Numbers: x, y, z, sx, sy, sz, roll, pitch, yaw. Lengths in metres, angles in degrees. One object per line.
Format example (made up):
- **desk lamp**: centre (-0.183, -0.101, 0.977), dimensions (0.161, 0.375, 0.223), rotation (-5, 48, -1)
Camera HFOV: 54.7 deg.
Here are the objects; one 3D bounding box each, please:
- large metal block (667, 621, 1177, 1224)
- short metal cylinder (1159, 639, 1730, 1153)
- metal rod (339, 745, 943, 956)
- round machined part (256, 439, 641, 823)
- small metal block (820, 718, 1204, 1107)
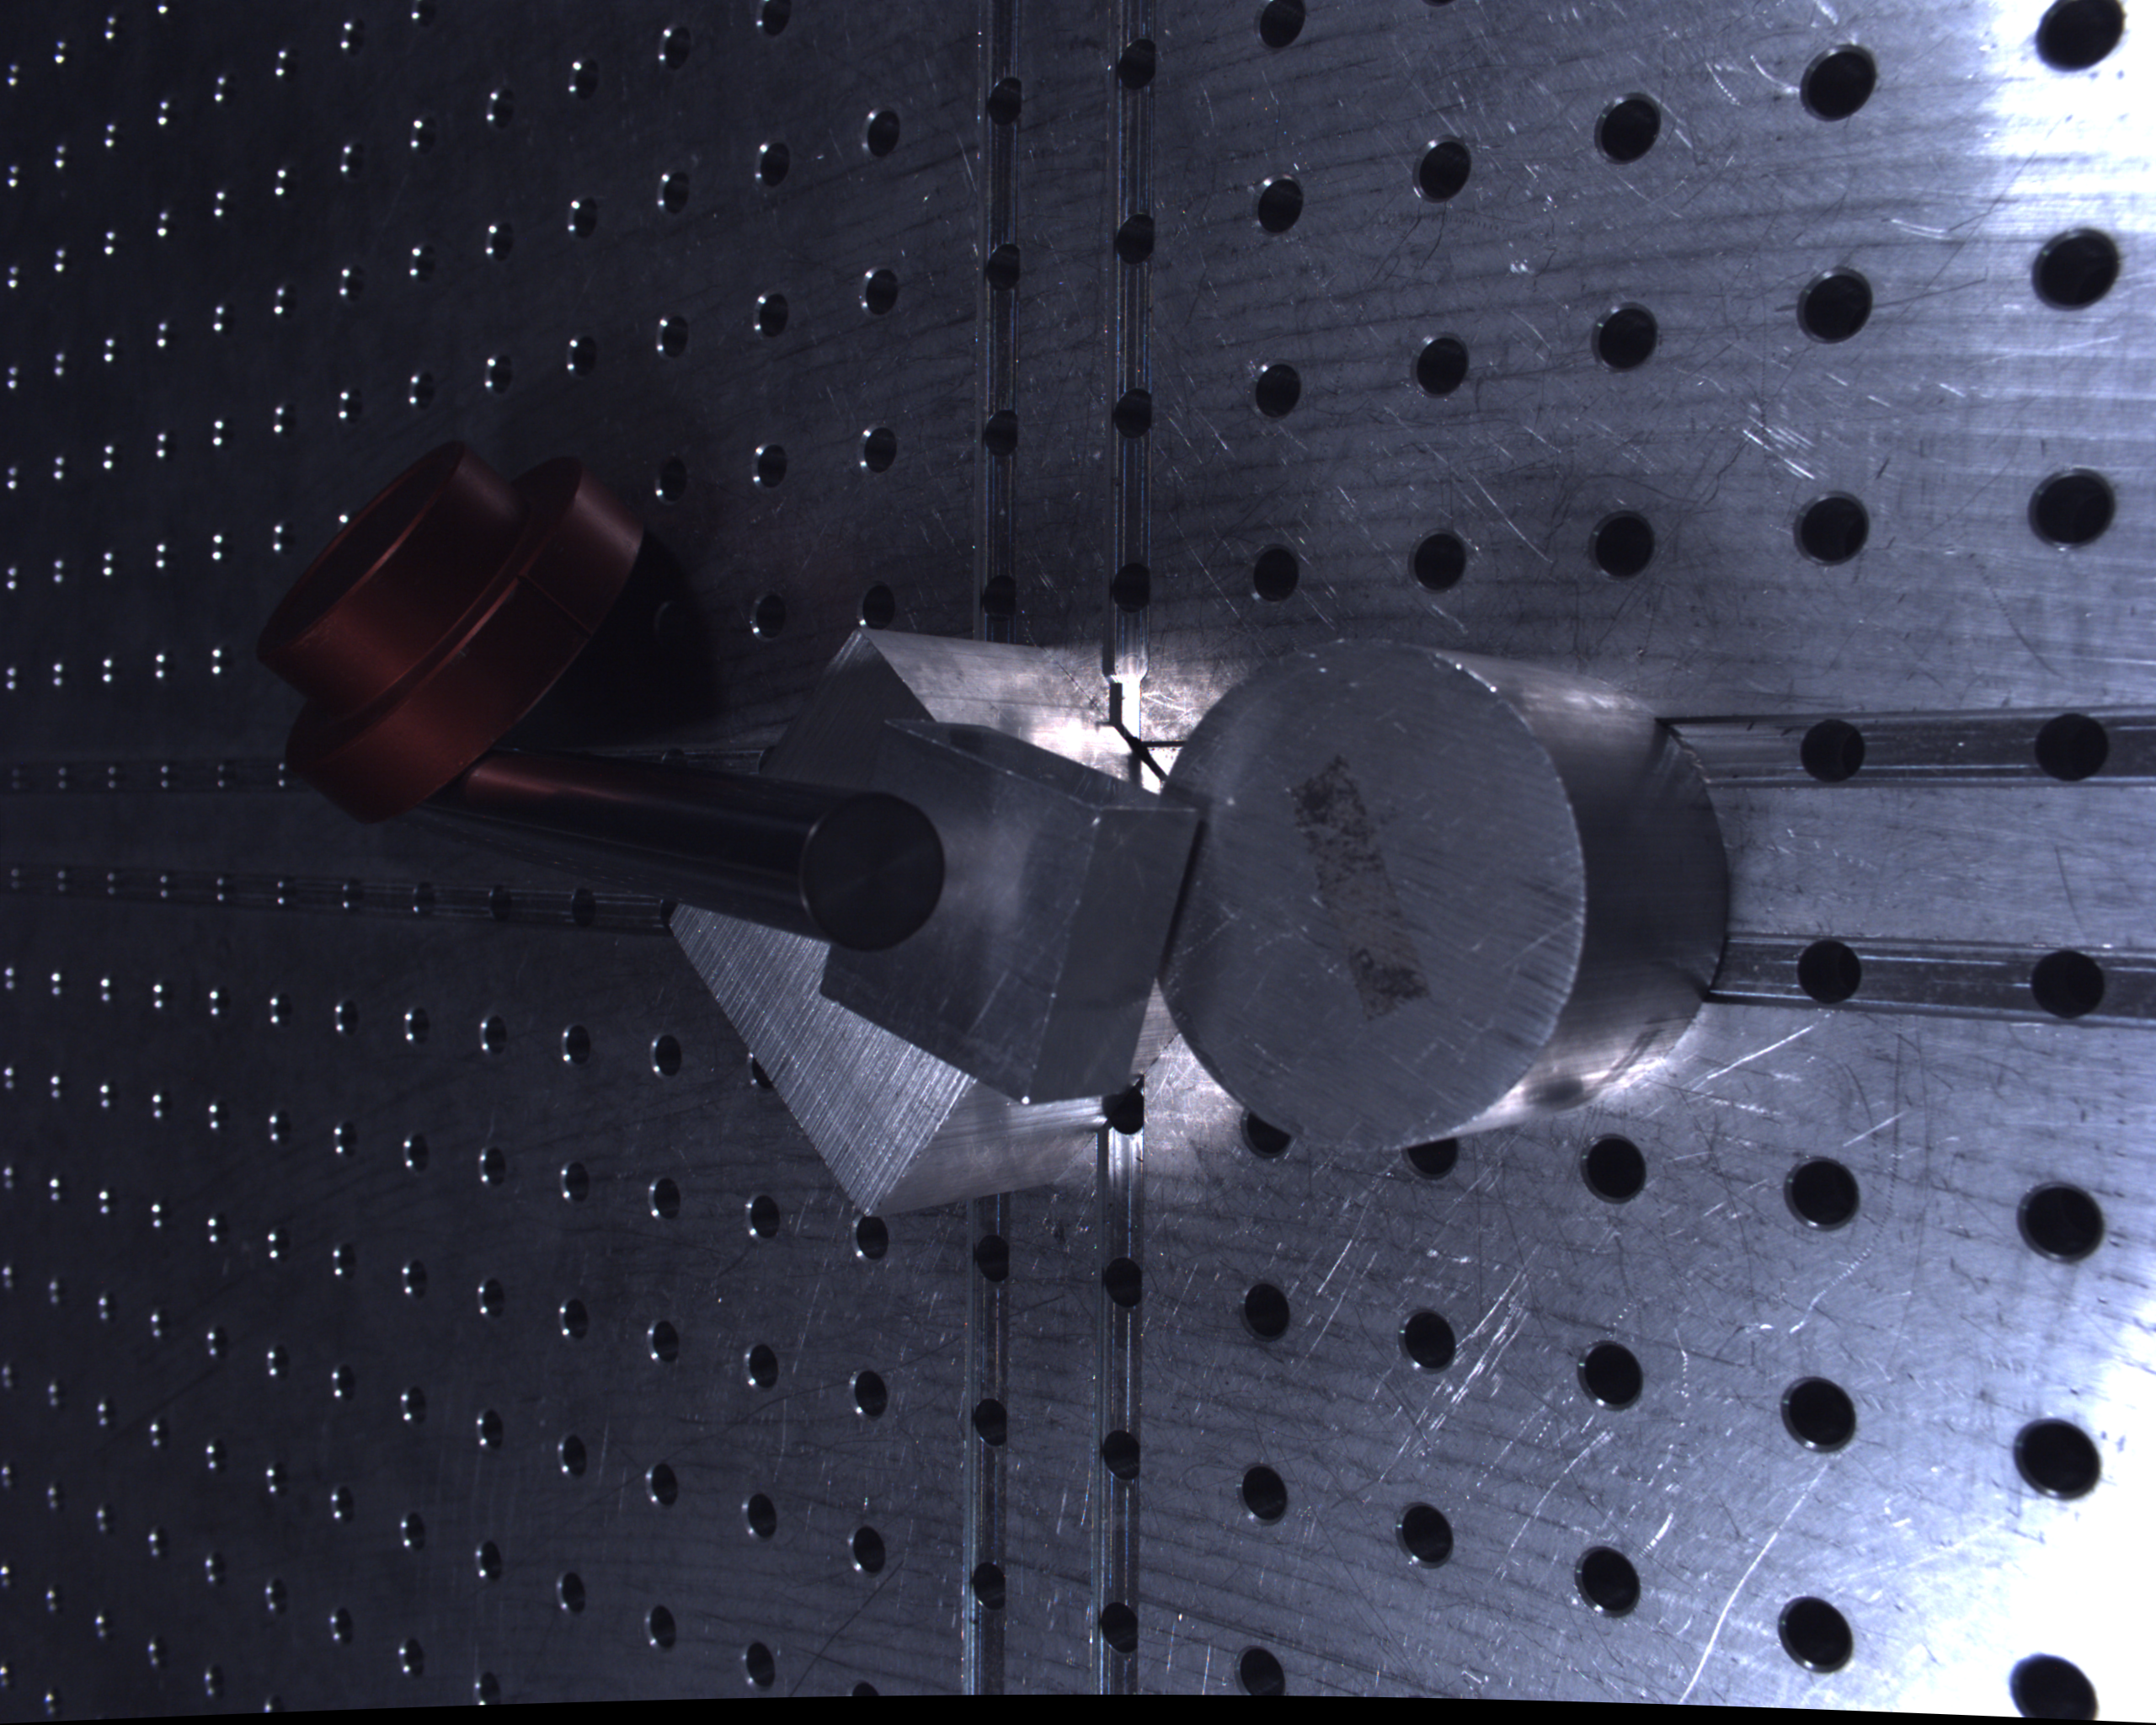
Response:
- **large metal block**: centre (-0.024, 0.011, 0.408), dimensions (0.080, 0.050, 0.080), rotation (51, 120, 27)
- **short metal cylinder**: centre (0.058, 0.005, 0.343), dimensions (0.080, 0.050, 0.079), rotation (0, 90, 39)
- **metal rod**: centre (-0.114, -0.012, 0.444), dimensions (0.300, 0.025, 0.025), rotation (10, 96, 56)
- **round machined part**: centre (-0.152, -0.060, 0.485), dimensions (0.098, 0.042, 0.098), rotation (-33, 31, 23)
- **small metal block**: centre (-0.012, 0.007, 0.349), dimensions (0.050, 0.025, 0.050), rotation (24, 105, 37)
